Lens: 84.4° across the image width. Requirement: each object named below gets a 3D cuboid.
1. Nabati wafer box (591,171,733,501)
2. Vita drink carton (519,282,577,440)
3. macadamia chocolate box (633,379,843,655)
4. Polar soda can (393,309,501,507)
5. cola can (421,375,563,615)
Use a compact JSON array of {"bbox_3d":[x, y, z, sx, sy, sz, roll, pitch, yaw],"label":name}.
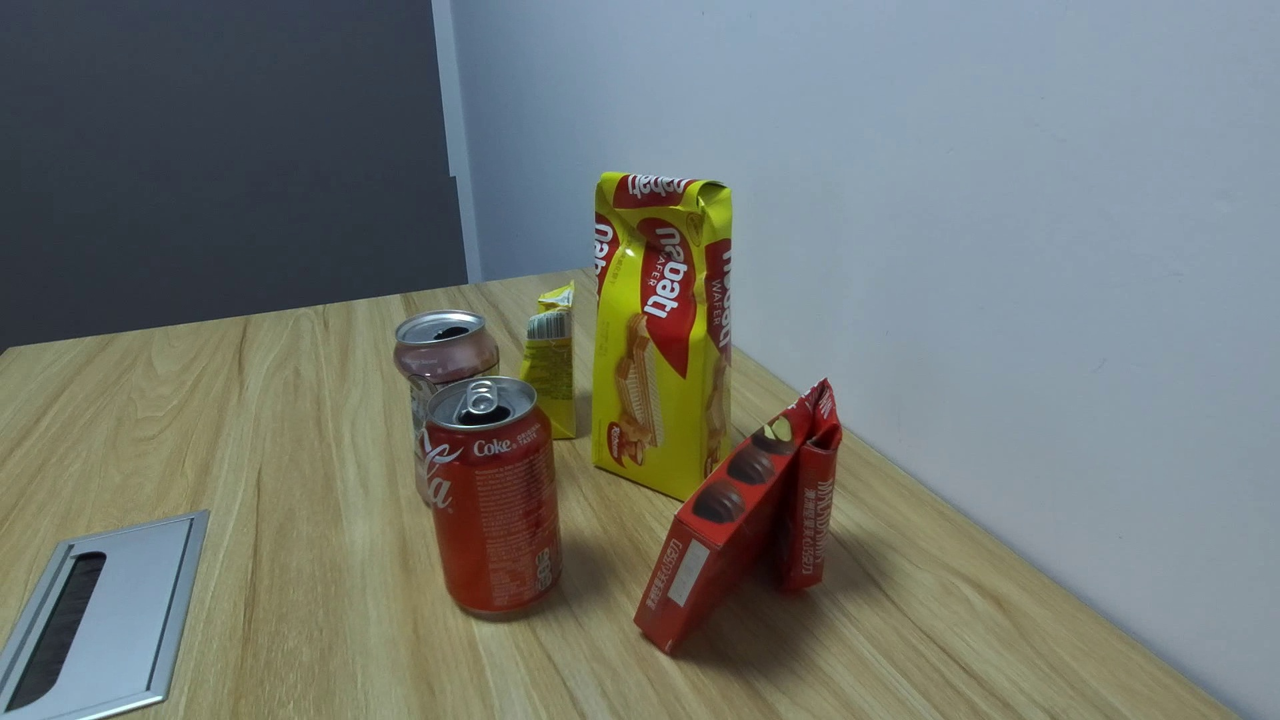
[{"bbox_3d":[0.012,-0.012,0.451,0.113,0.205,0.043,15,27,35],"label":"Nabati wafer box"},{"bbox_3d":[-0.071,-0.001,0.543,0.046,0.110,0.071,-1,24,-4],"label":"Vita drink carton"},{"bbox_3d":[0.056,0.080,0.359,0.127,0.112,0.056,-22,34,-39],"label":"macadamia chocolate box"},{"bbox_3d":[-0.121,0.034,0.465,0.067,0.122,0.074,-3,23,3],"label":"Polar soda can"},{"bbox_3d":[-0.078,0.072,0.378,0.068,0.120,0.068,-2,25,1],"label":"cola can"}]
